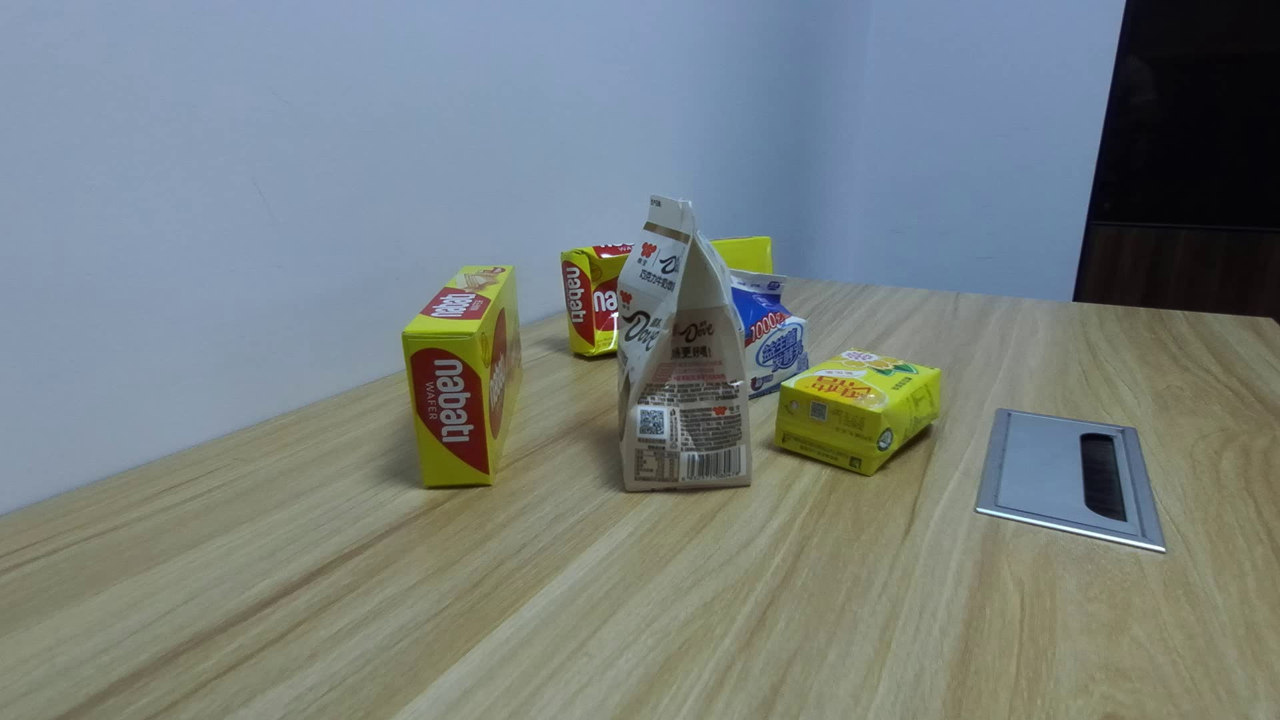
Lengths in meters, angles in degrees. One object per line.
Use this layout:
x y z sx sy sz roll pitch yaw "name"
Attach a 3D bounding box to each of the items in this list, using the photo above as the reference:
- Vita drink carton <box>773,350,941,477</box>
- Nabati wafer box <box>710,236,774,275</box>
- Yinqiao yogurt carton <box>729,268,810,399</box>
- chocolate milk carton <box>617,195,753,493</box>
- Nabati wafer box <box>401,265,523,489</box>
0.143 0.030 0.449 0.076 0.043 0.109 17 22 36 "Vita drink carton"
0.033 -0.061 0.658 0.204 0.096 0.042 -10 13 -25 "Nabati wafer box"
0.081 -0.028 0.546 0.083 0.093 0.077 -13 21 -34 "Yinqiao yogurt carton"
0.024 -0.012 0.396 0.073 0.155 0.084 -2 19 -4 "chocolate milk carton"
-0.110 -0.001 0.477 0.042 0.093 0.202 -2 18 -3 "Nabati wafer box"
